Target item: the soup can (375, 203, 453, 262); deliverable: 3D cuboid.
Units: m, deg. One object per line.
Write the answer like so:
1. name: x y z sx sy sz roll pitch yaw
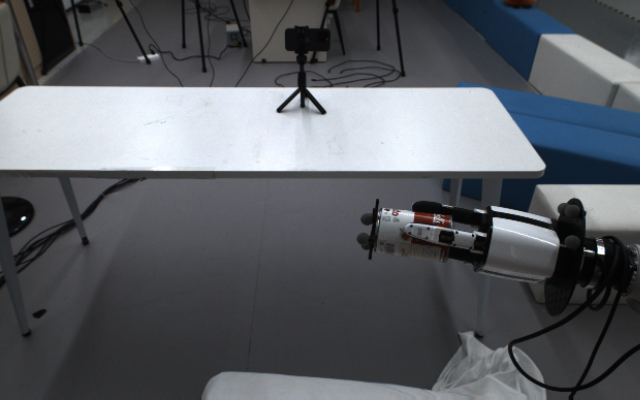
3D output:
1. soup can: 0.134 0.048 0.689 0.101 0.067 0.067 6 35 10
